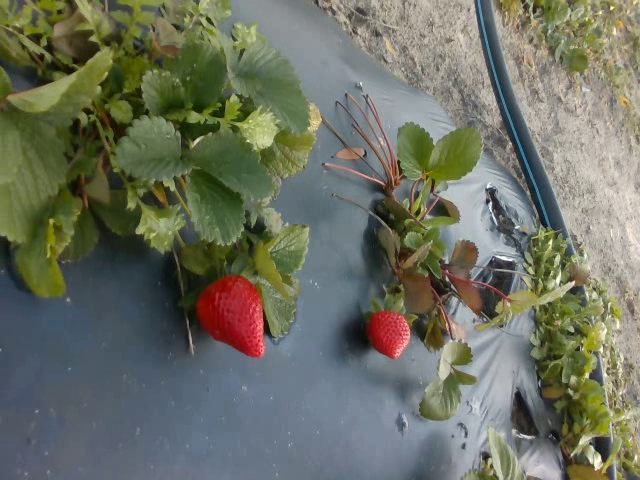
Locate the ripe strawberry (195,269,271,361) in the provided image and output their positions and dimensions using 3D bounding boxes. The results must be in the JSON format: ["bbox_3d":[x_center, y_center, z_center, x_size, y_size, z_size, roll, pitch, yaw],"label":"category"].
[{"bbox_3d":[-0.045,0.046,0.328,0.046,0.051,0.050,-33,44,-11],"label":"ripe strawberry"}]

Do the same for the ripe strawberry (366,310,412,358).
[{"bbox_3d":[0.052,0.075,0.448,0.041,0.045,0.052,-1,28,0],"label":"ripe strawberry"}]
